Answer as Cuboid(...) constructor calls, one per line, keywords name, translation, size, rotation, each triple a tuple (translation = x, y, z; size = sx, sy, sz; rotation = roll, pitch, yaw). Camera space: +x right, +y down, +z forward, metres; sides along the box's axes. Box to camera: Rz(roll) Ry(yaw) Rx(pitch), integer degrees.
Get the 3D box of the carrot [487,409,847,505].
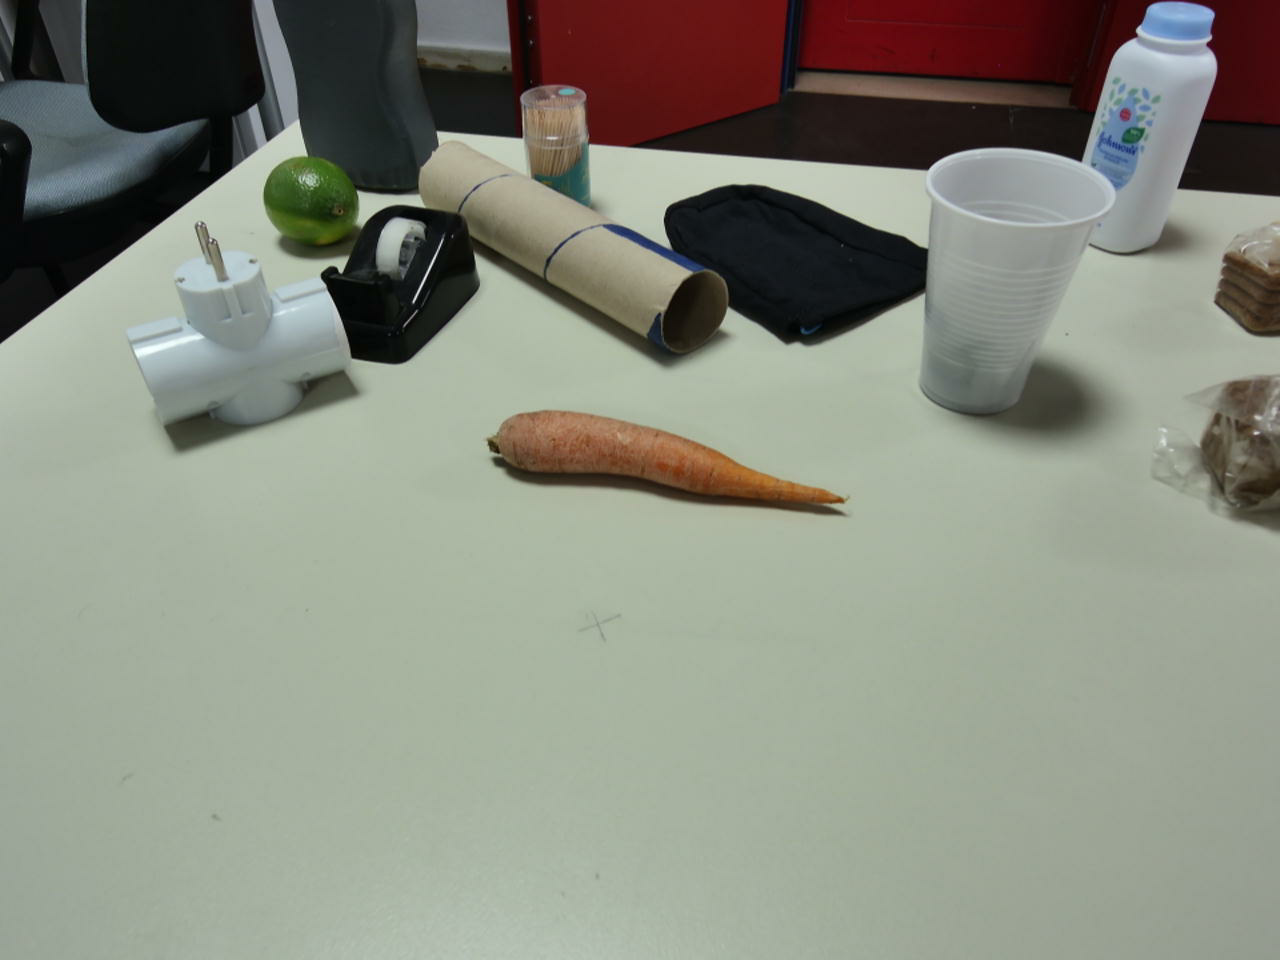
Cuboid(name="carrot", translation=(0.010, -0.010, 0.443), size=(0.163, 0.029, 0.031), rotation=(9, 39, 11))
